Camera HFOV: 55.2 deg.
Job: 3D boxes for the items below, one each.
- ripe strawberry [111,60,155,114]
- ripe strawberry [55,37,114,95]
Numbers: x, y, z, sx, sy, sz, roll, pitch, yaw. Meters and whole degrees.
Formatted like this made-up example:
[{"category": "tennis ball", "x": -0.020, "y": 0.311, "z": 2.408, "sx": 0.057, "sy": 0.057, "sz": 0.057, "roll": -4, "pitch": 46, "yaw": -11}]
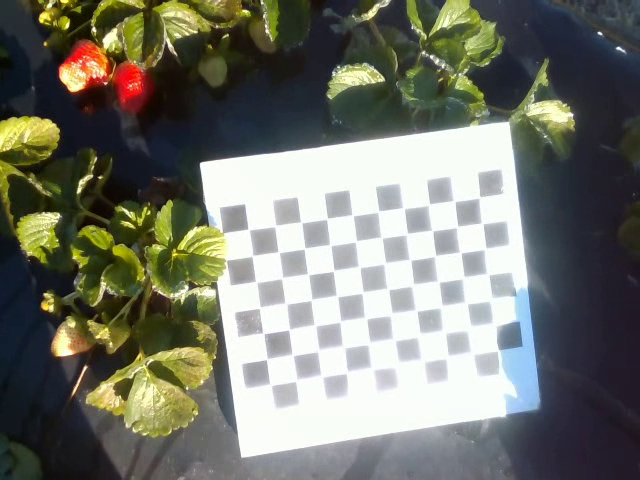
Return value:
[{"category": "ripe strawberry", "x": -0.208, "y": -0.169, "z": 0.664, "sx": 0.043, "sy": 0.059, "sz": 0.040, "roll": -8, "pitch": -2, "yaw": -3}, {"category": "ripe strawberry", "x": -0.259, "y": -0.186, "z": 0.670, "sx": 0.052, "sy": 0.070, "sz": 0.040, "roll": 39, "pitch": -7, "yaw": -11}]
